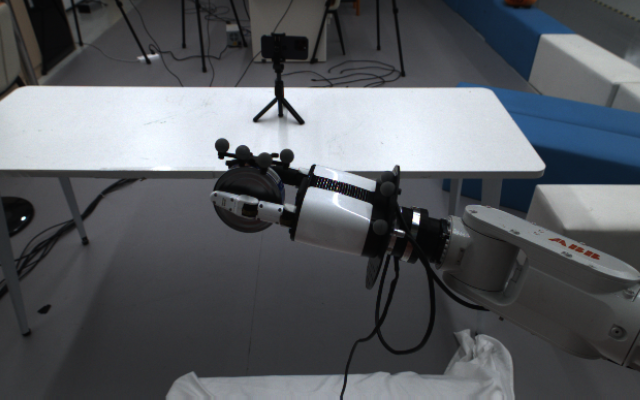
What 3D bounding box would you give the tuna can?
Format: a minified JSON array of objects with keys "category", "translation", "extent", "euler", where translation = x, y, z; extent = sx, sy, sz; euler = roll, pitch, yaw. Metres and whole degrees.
[{"category":"tuna can","translation":[-0.086,-0.005,0.602],"extent":[0.085,0.085,0.034],"euler":[5,18,5]}]
